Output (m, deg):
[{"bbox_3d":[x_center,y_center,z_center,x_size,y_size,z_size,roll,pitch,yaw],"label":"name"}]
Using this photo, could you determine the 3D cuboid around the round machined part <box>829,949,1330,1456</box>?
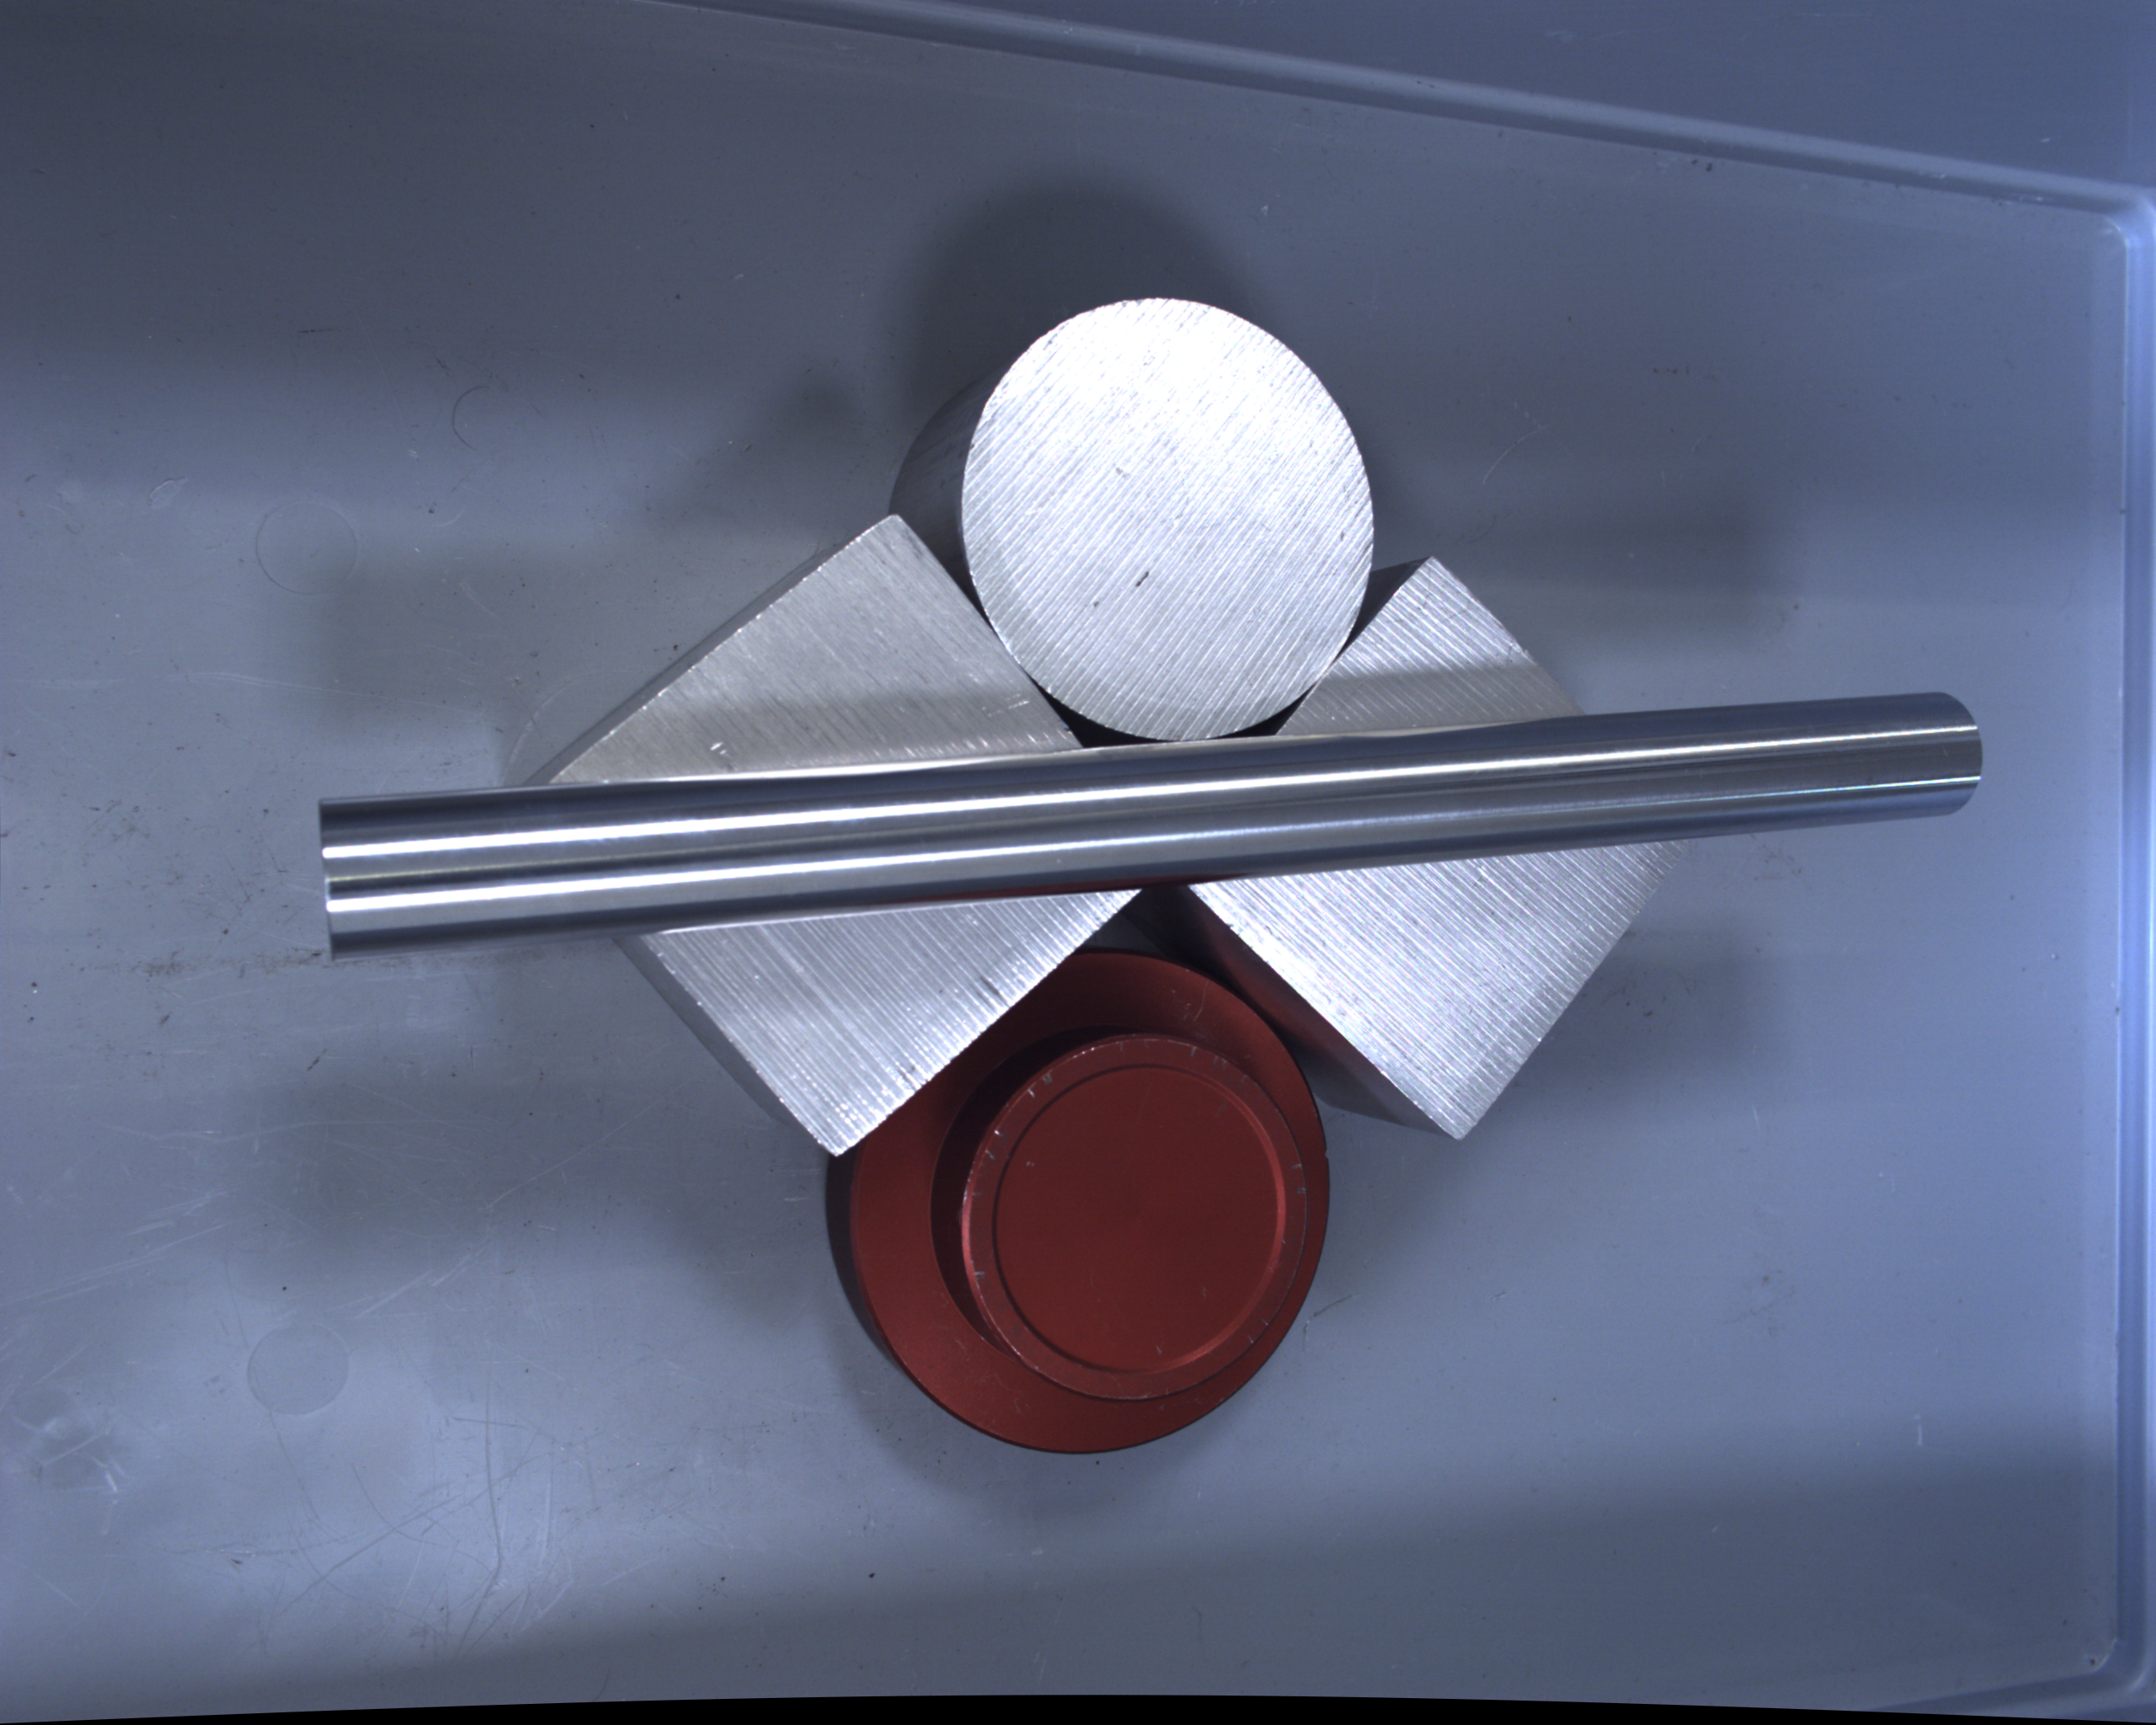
[{"bbox_3d":[0.005,0.065,0.401,0.099,0.042,0.097,0,90,-20],"label":"round machined part"}]

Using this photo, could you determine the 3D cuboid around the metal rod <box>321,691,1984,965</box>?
[{"bbox_3d":[0.029,-0.009,0.364,0.303,0.025,0.025,-5,92,-20],"label":"metal rod"}]

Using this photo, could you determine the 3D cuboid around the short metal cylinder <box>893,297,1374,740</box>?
[{"bbox_3d":[0.009,-0.062,0.399,0.081,0.050,0.079,0,90,-20],"label":"short metal cylinder"}]

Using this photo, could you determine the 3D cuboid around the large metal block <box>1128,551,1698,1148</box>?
[{"bbox_3d":[0.062,-0.003,0.416,0.080,0.050,0.080,44,77,-15],"label":"large metal block"}]

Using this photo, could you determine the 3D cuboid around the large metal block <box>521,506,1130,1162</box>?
[{"bbox_3d":[-0.045,-0.006,0.379,0.080,0.050,0.080,-41,105,-16],"label":"large metal block"}]
